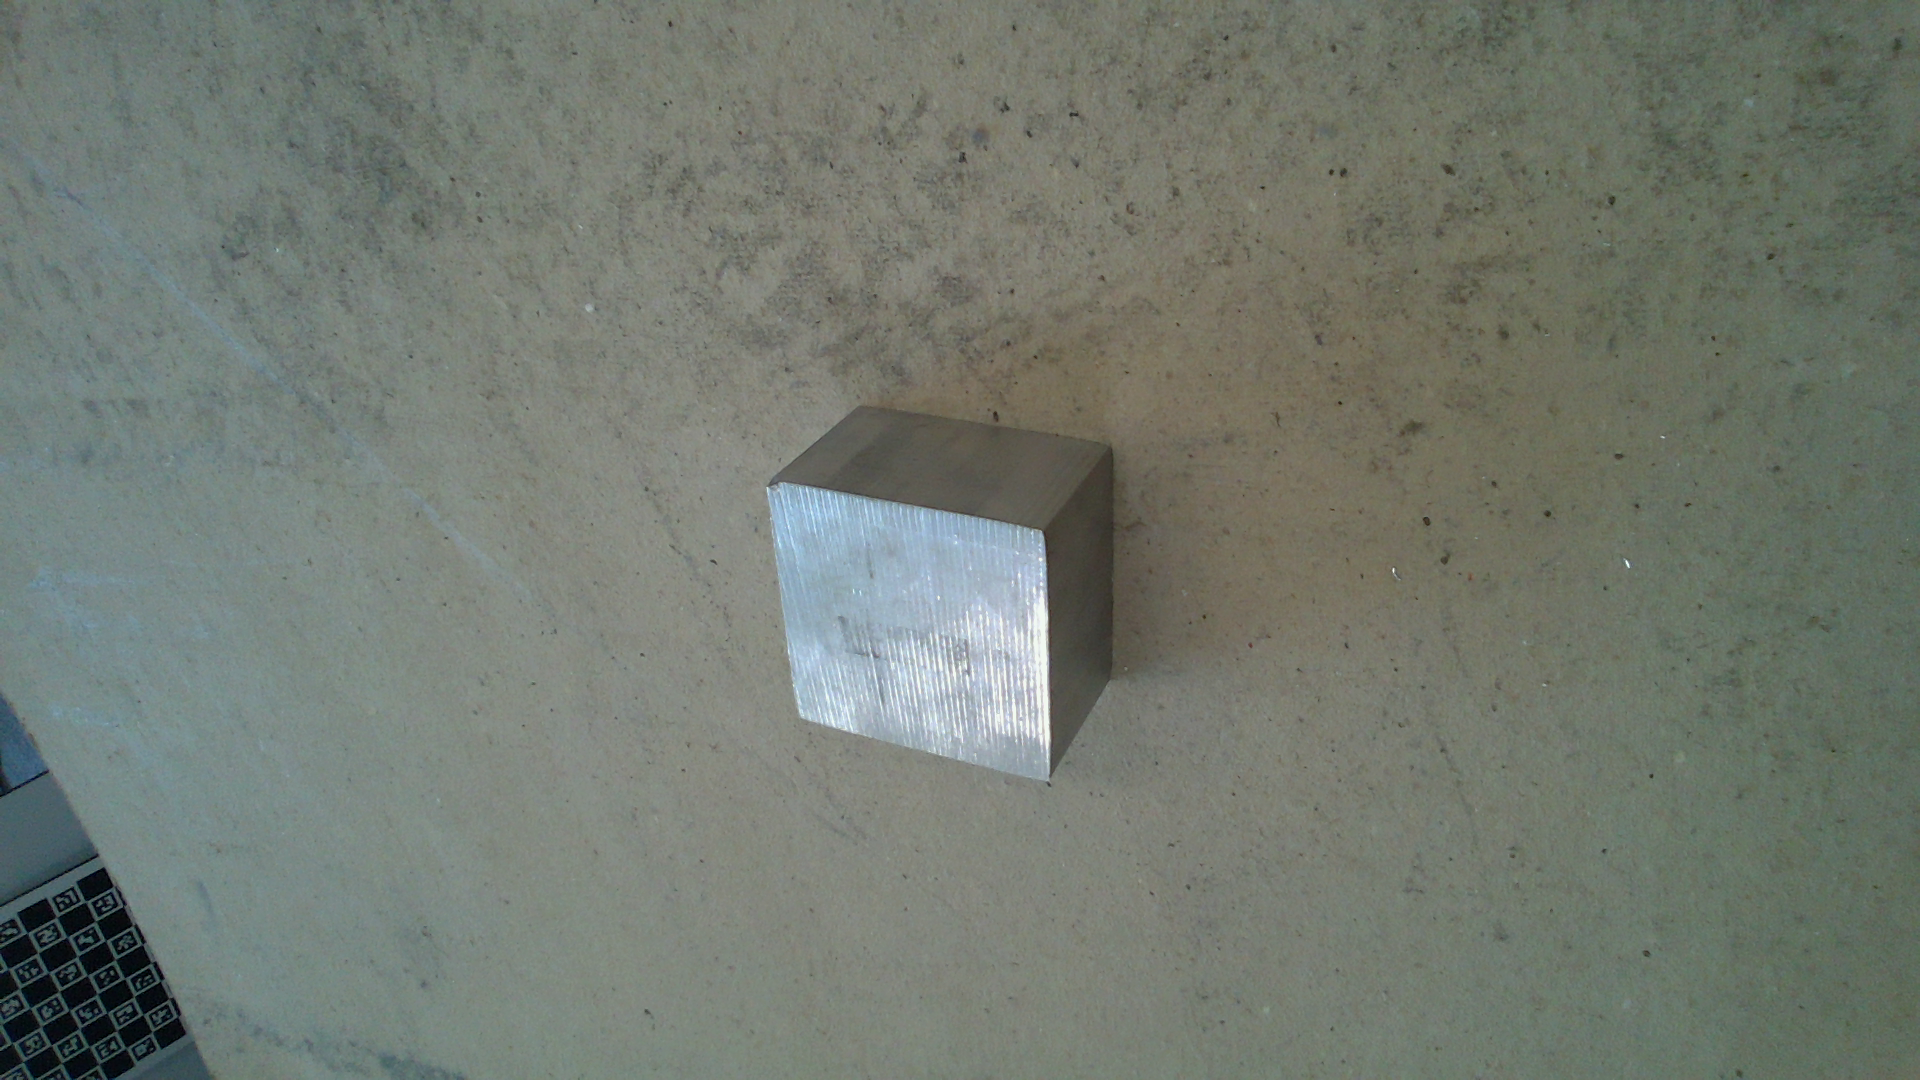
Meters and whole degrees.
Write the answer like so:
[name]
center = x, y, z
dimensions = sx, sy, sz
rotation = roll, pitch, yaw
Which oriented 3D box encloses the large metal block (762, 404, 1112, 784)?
[large metal block]
center = -0.003, 0.013, 0.387
dimensions = 0.080, 0.050, 0.080
rotation = 10, 123, 22
